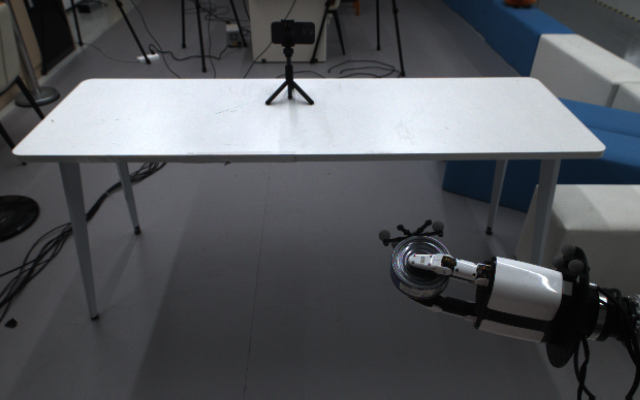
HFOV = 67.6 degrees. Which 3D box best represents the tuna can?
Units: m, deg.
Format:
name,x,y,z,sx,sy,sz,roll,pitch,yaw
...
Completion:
name,x,y,z,sx,sy,sz,roll,pitch,yaw
tuna can,0.147,0.101,0.682,0.085,0.034,0.085,-3,60,5
